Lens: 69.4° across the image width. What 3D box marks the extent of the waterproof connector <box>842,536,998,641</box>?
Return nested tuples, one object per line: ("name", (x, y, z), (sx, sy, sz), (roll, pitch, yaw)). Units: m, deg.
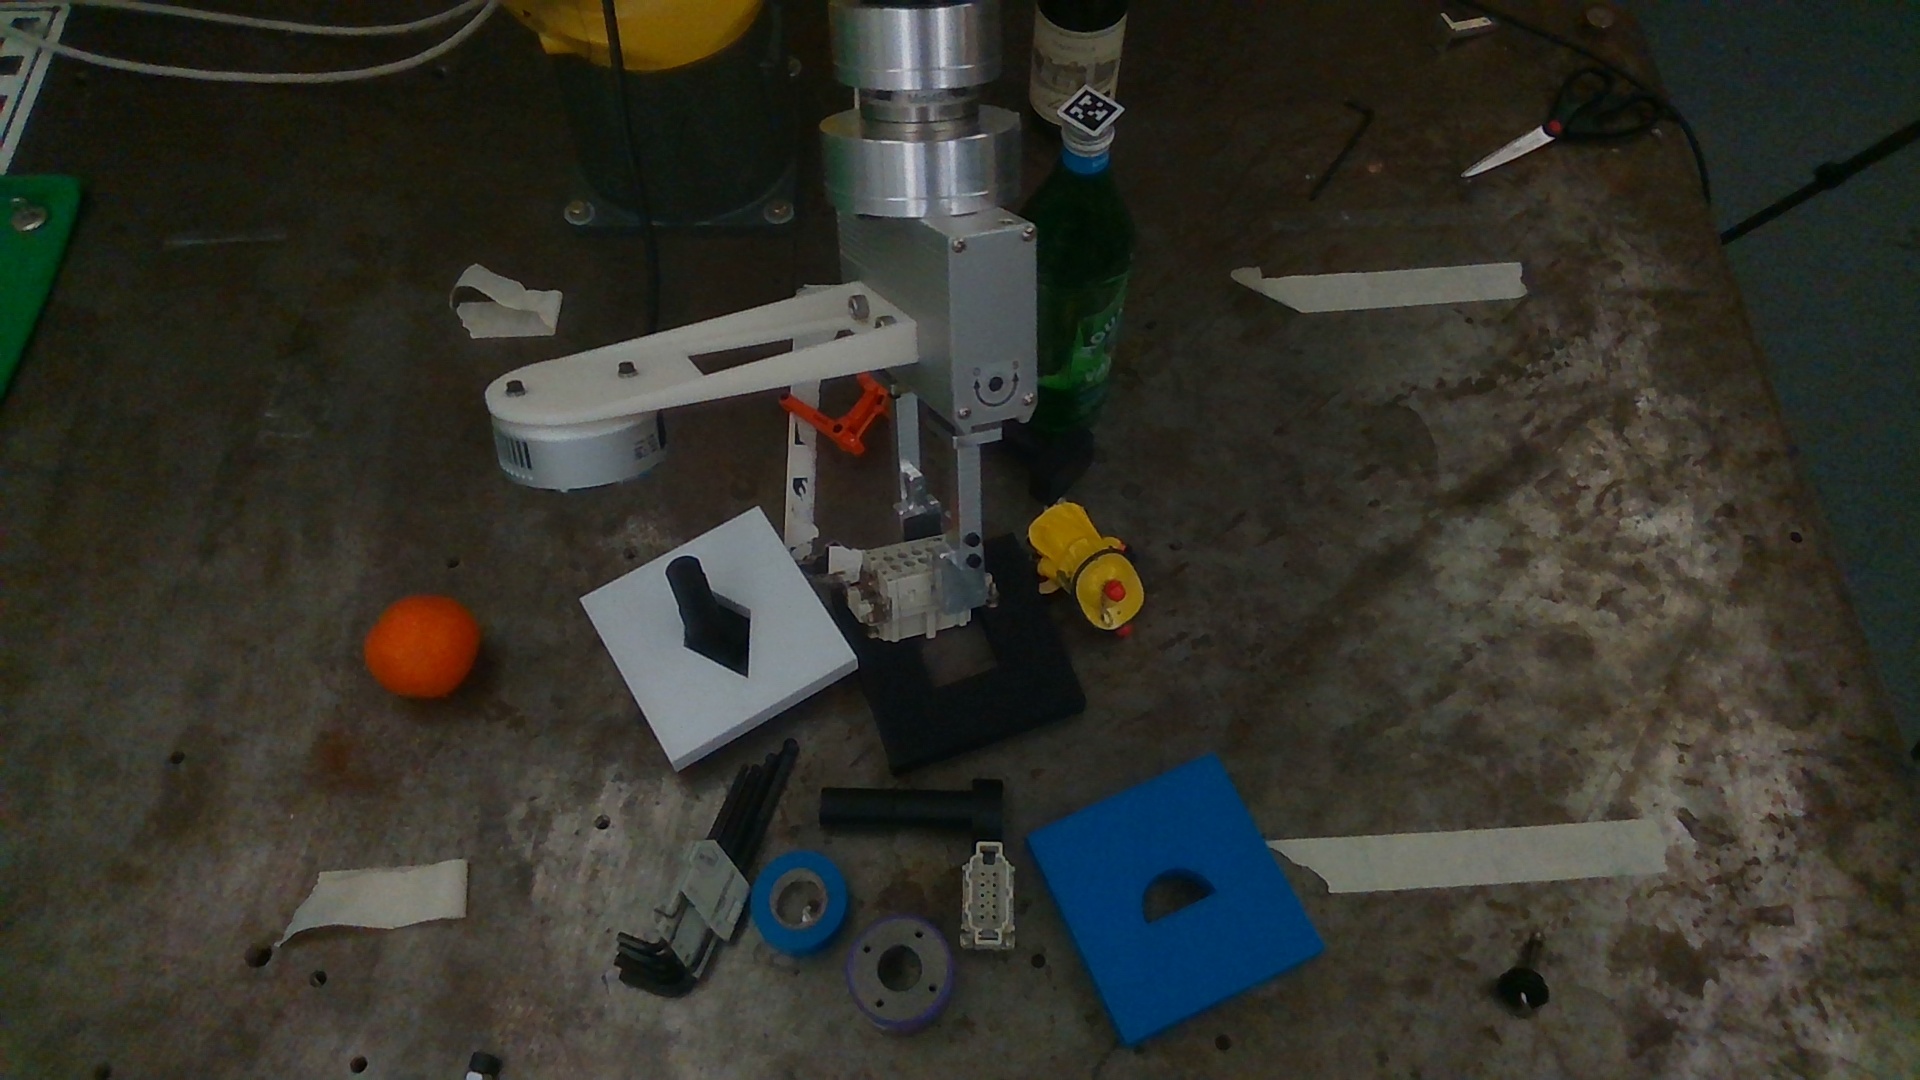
("waterproof connector", (-0.018, 0.024, 0.645), (0.069, 0.038, 0.037), (-8, 24, -27))
